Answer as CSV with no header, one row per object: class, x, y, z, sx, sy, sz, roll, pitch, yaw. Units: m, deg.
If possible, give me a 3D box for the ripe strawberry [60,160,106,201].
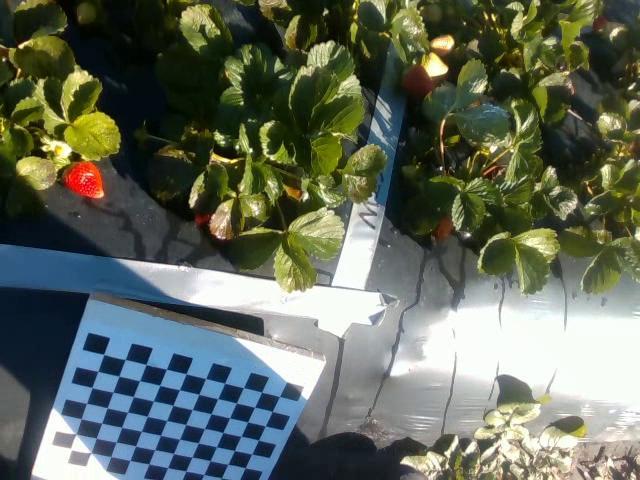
ripe strawberry,-0.271,-0.067,0.698,0.045,0.059,0.042,-39,6,8
